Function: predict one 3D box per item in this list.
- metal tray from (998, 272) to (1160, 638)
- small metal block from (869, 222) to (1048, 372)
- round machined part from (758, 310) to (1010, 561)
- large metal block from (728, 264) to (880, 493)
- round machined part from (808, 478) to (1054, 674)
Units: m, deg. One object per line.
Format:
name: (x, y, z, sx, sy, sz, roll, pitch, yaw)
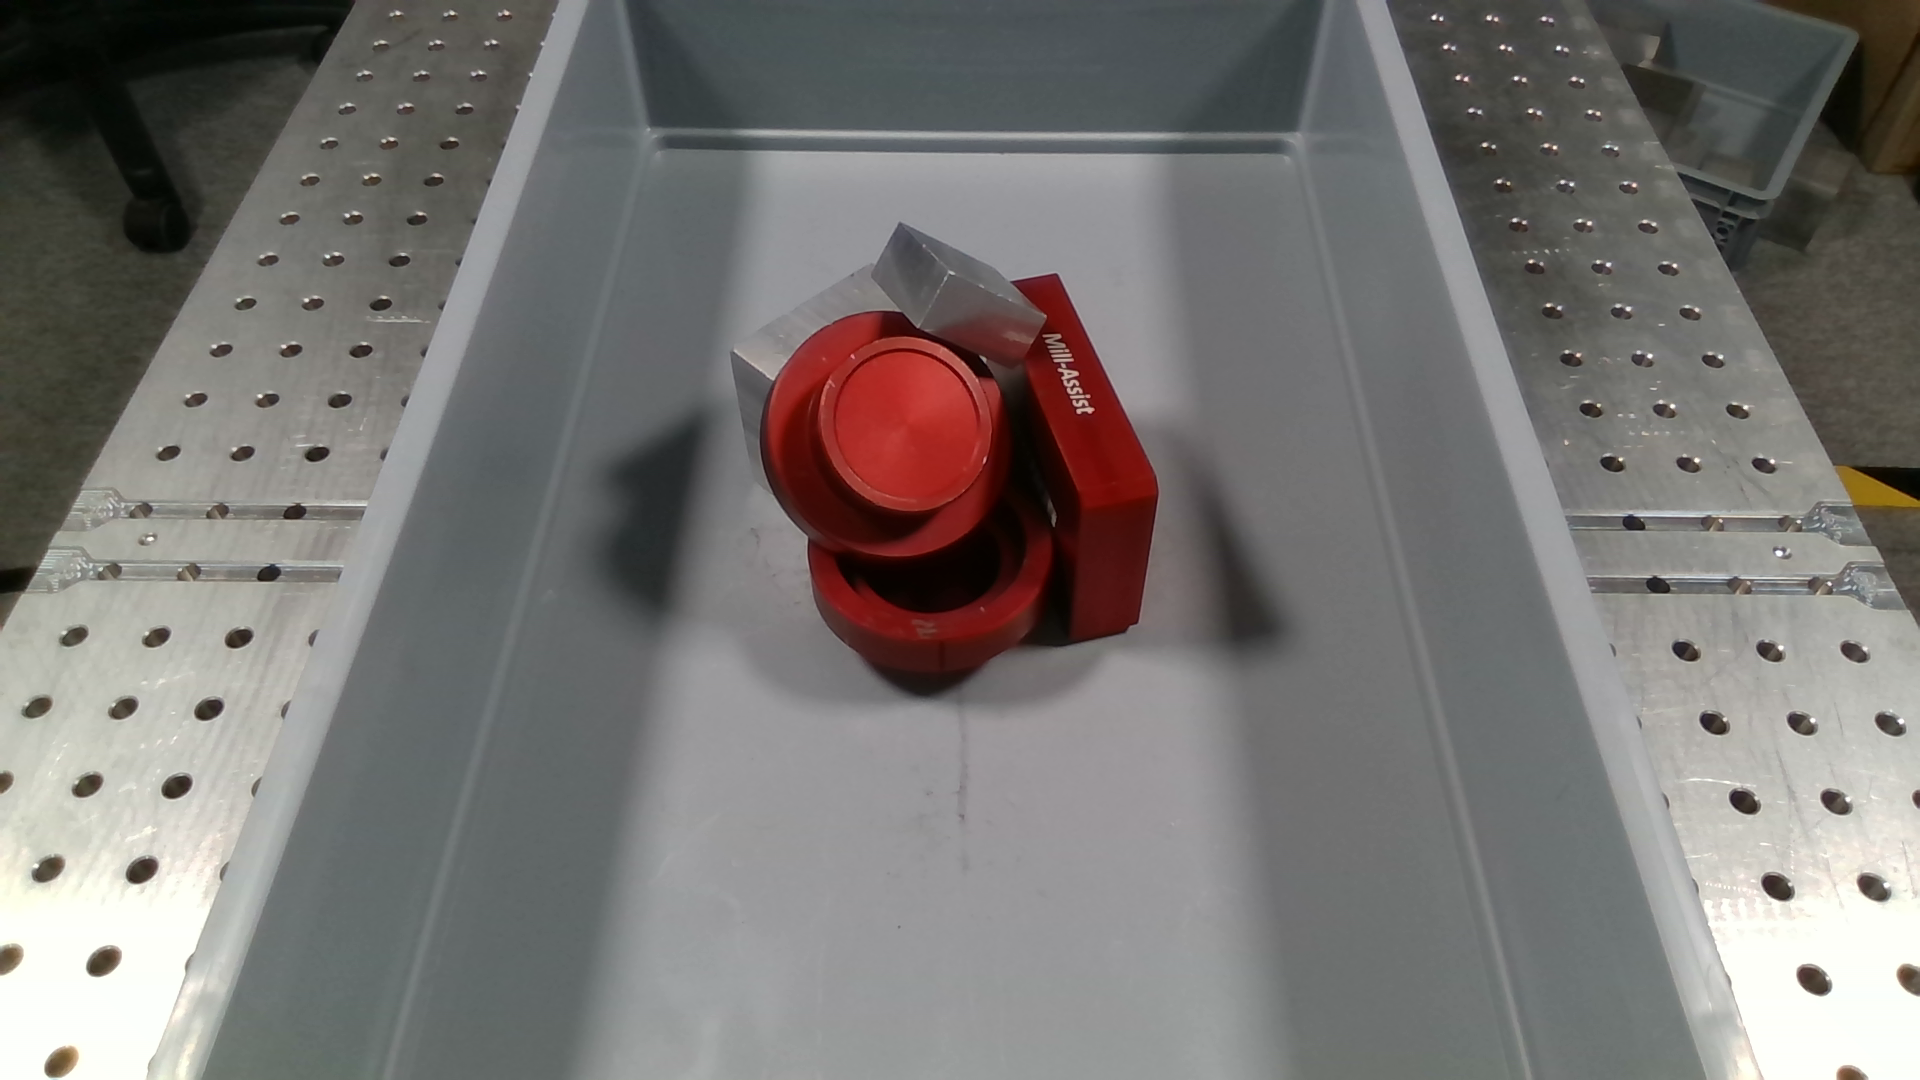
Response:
metal tray: (0.043, -0.036, 0.573, 0.030, 0.090, 0.130, -12, 51, -9)
small metal block: (-0.001, -0.096, 0.545, 0.050, 0.025, 0.050, 17, 23, -37)
round machined part: (-0.026, -0.041, 0.534, 0.098, 0.042, 0.098, 2, 85, -18)
large metal block: (-0.049, -0.060, 0.600, 0.080, 0.080, 0.050, -37, 59, -26)
round machined part: (-0.012, 0.015, 0.563, 0.098, 0.042, 0.098, 0, 50, 0)
